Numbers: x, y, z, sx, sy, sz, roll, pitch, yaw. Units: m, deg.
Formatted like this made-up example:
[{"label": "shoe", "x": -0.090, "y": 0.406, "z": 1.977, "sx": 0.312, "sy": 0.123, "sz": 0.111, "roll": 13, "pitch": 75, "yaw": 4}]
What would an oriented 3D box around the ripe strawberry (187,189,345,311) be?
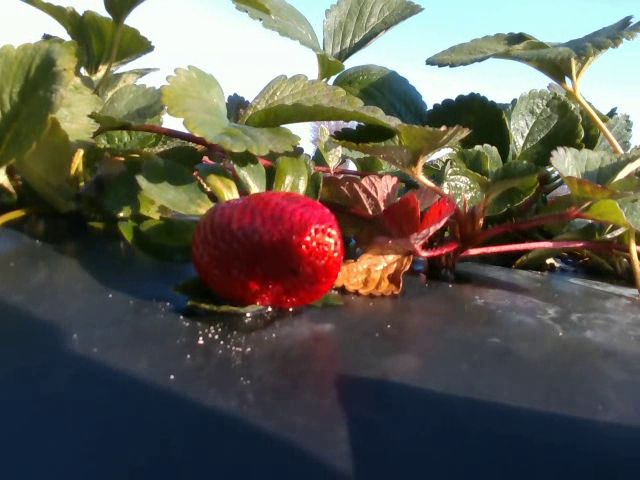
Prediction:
[{"label": "ripe strawberry", "x": -0.011, "y": 0.000, "z": 0.151, "sx": 0.040, "sy": 0.041, "sz": 0.056, "roll": -28, "pitch": 8, "yaw": -25}]
